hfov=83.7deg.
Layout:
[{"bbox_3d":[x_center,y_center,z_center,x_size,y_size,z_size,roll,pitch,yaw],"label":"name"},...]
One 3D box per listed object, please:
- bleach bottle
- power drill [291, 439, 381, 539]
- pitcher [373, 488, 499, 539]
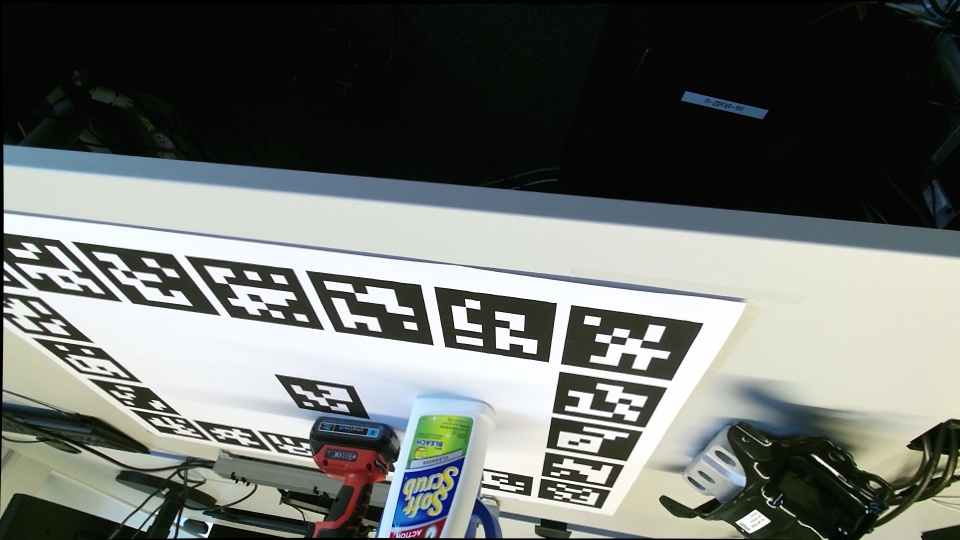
[{"bbox_3d":[-0.054,0.279,0.545,0.103,0.249,0.068,1,139,13],"label":"bleach bottle"},{"bbox_3d":[-0.222,0.315,0.680,0.185,0.186,0.057,7,138,16],"label":"power drill"},{"bbox_3d":[-0.058,0.328,0.636,0.189,0.241,0.133,-13,133,28],"label":"pitcher"}]
